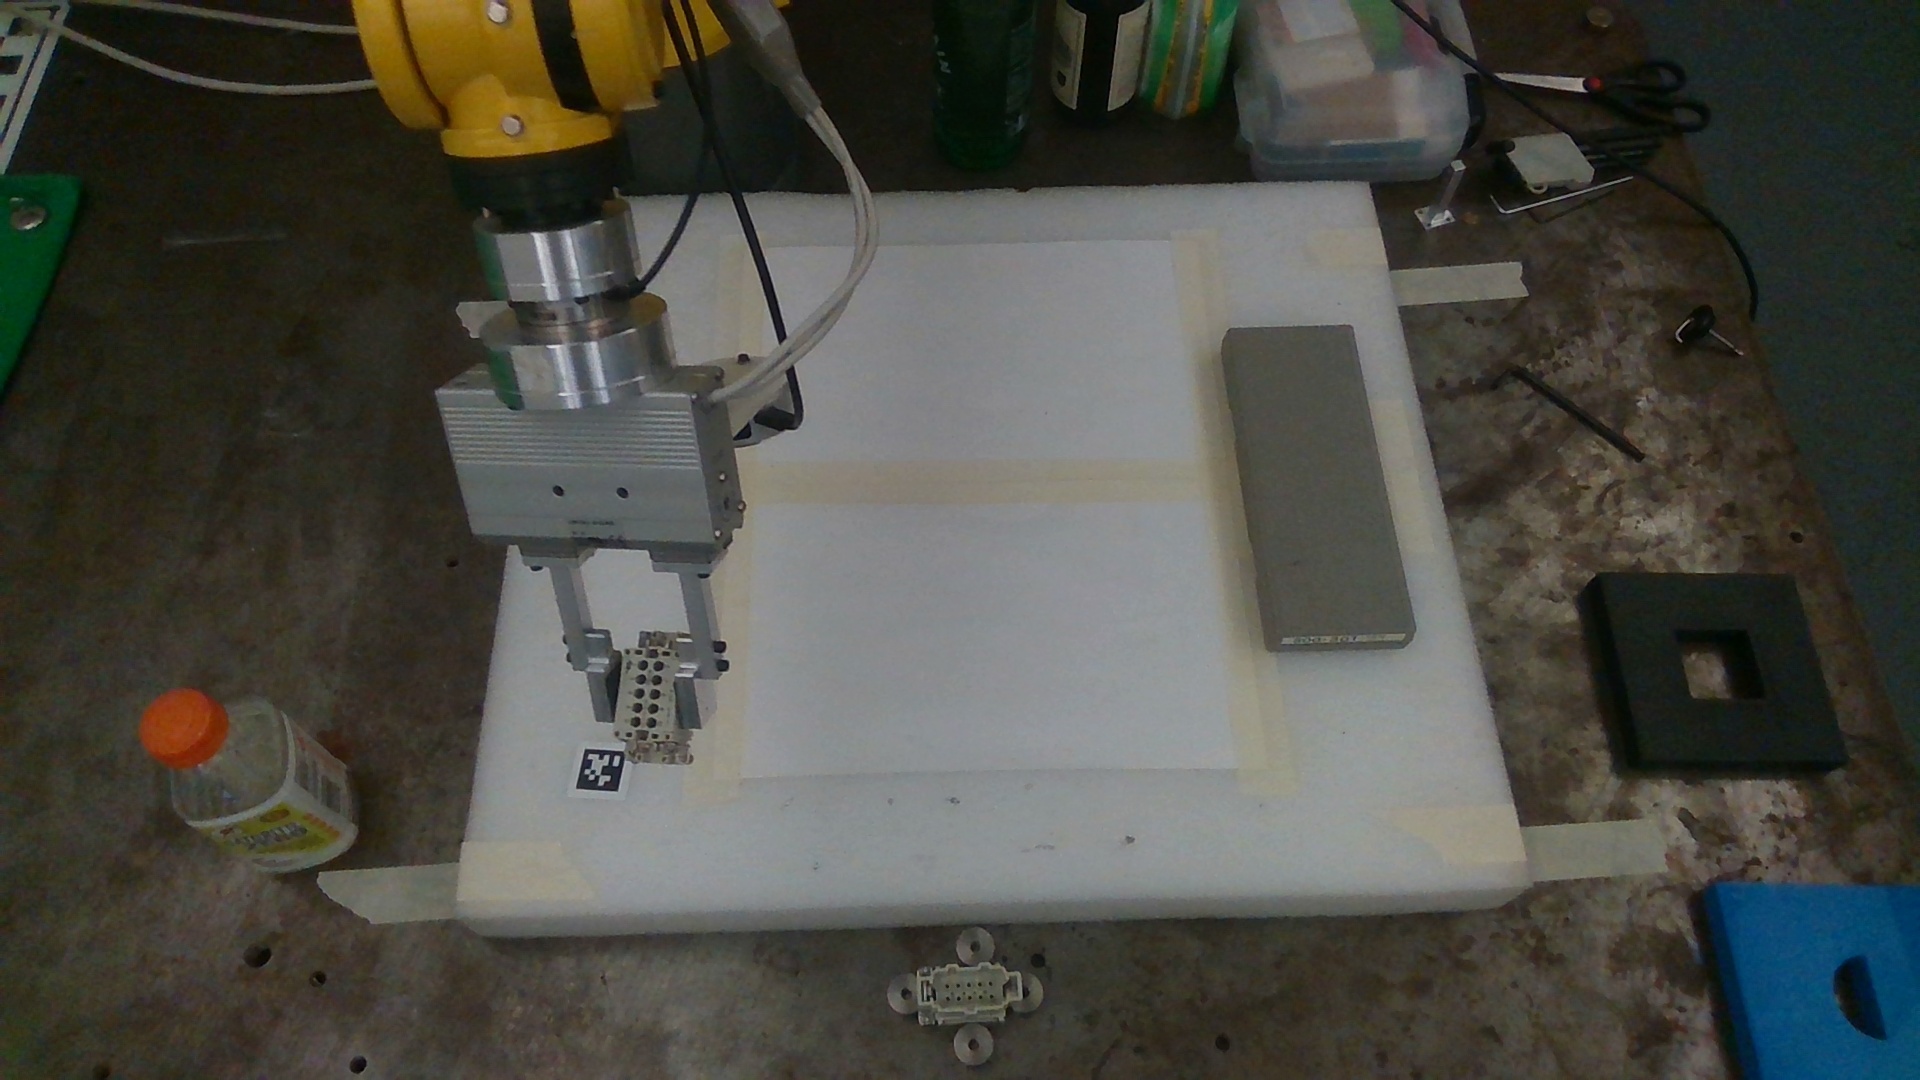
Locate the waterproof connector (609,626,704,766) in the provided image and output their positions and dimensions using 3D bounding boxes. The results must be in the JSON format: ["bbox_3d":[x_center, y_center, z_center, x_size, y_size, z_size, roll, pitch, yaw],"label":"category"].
[{"bbox_3d":[-0.149,0.078,0.694,0.037,0.038,0.069,1,81,19],"label":"waterproof connector"}]
